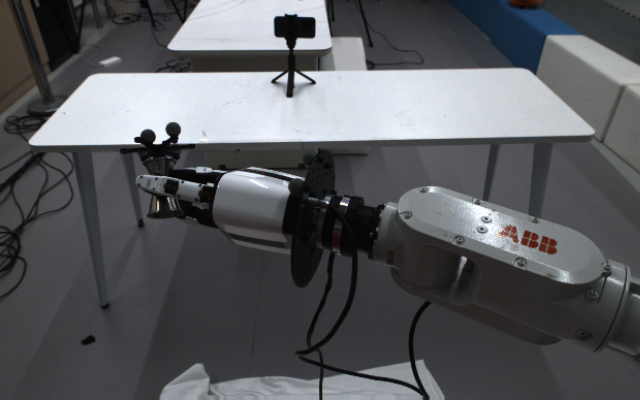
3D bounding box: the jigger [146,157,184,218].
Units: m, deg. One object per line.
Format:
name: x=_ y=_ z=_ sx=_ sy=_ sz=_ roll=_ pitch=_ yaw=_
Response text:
jigger: x=-0.192 y=-0.013 z=0.596 sx=0.043 sy=0.043 sz=0.071 roll=-8 pitch=79 yaw=-14
